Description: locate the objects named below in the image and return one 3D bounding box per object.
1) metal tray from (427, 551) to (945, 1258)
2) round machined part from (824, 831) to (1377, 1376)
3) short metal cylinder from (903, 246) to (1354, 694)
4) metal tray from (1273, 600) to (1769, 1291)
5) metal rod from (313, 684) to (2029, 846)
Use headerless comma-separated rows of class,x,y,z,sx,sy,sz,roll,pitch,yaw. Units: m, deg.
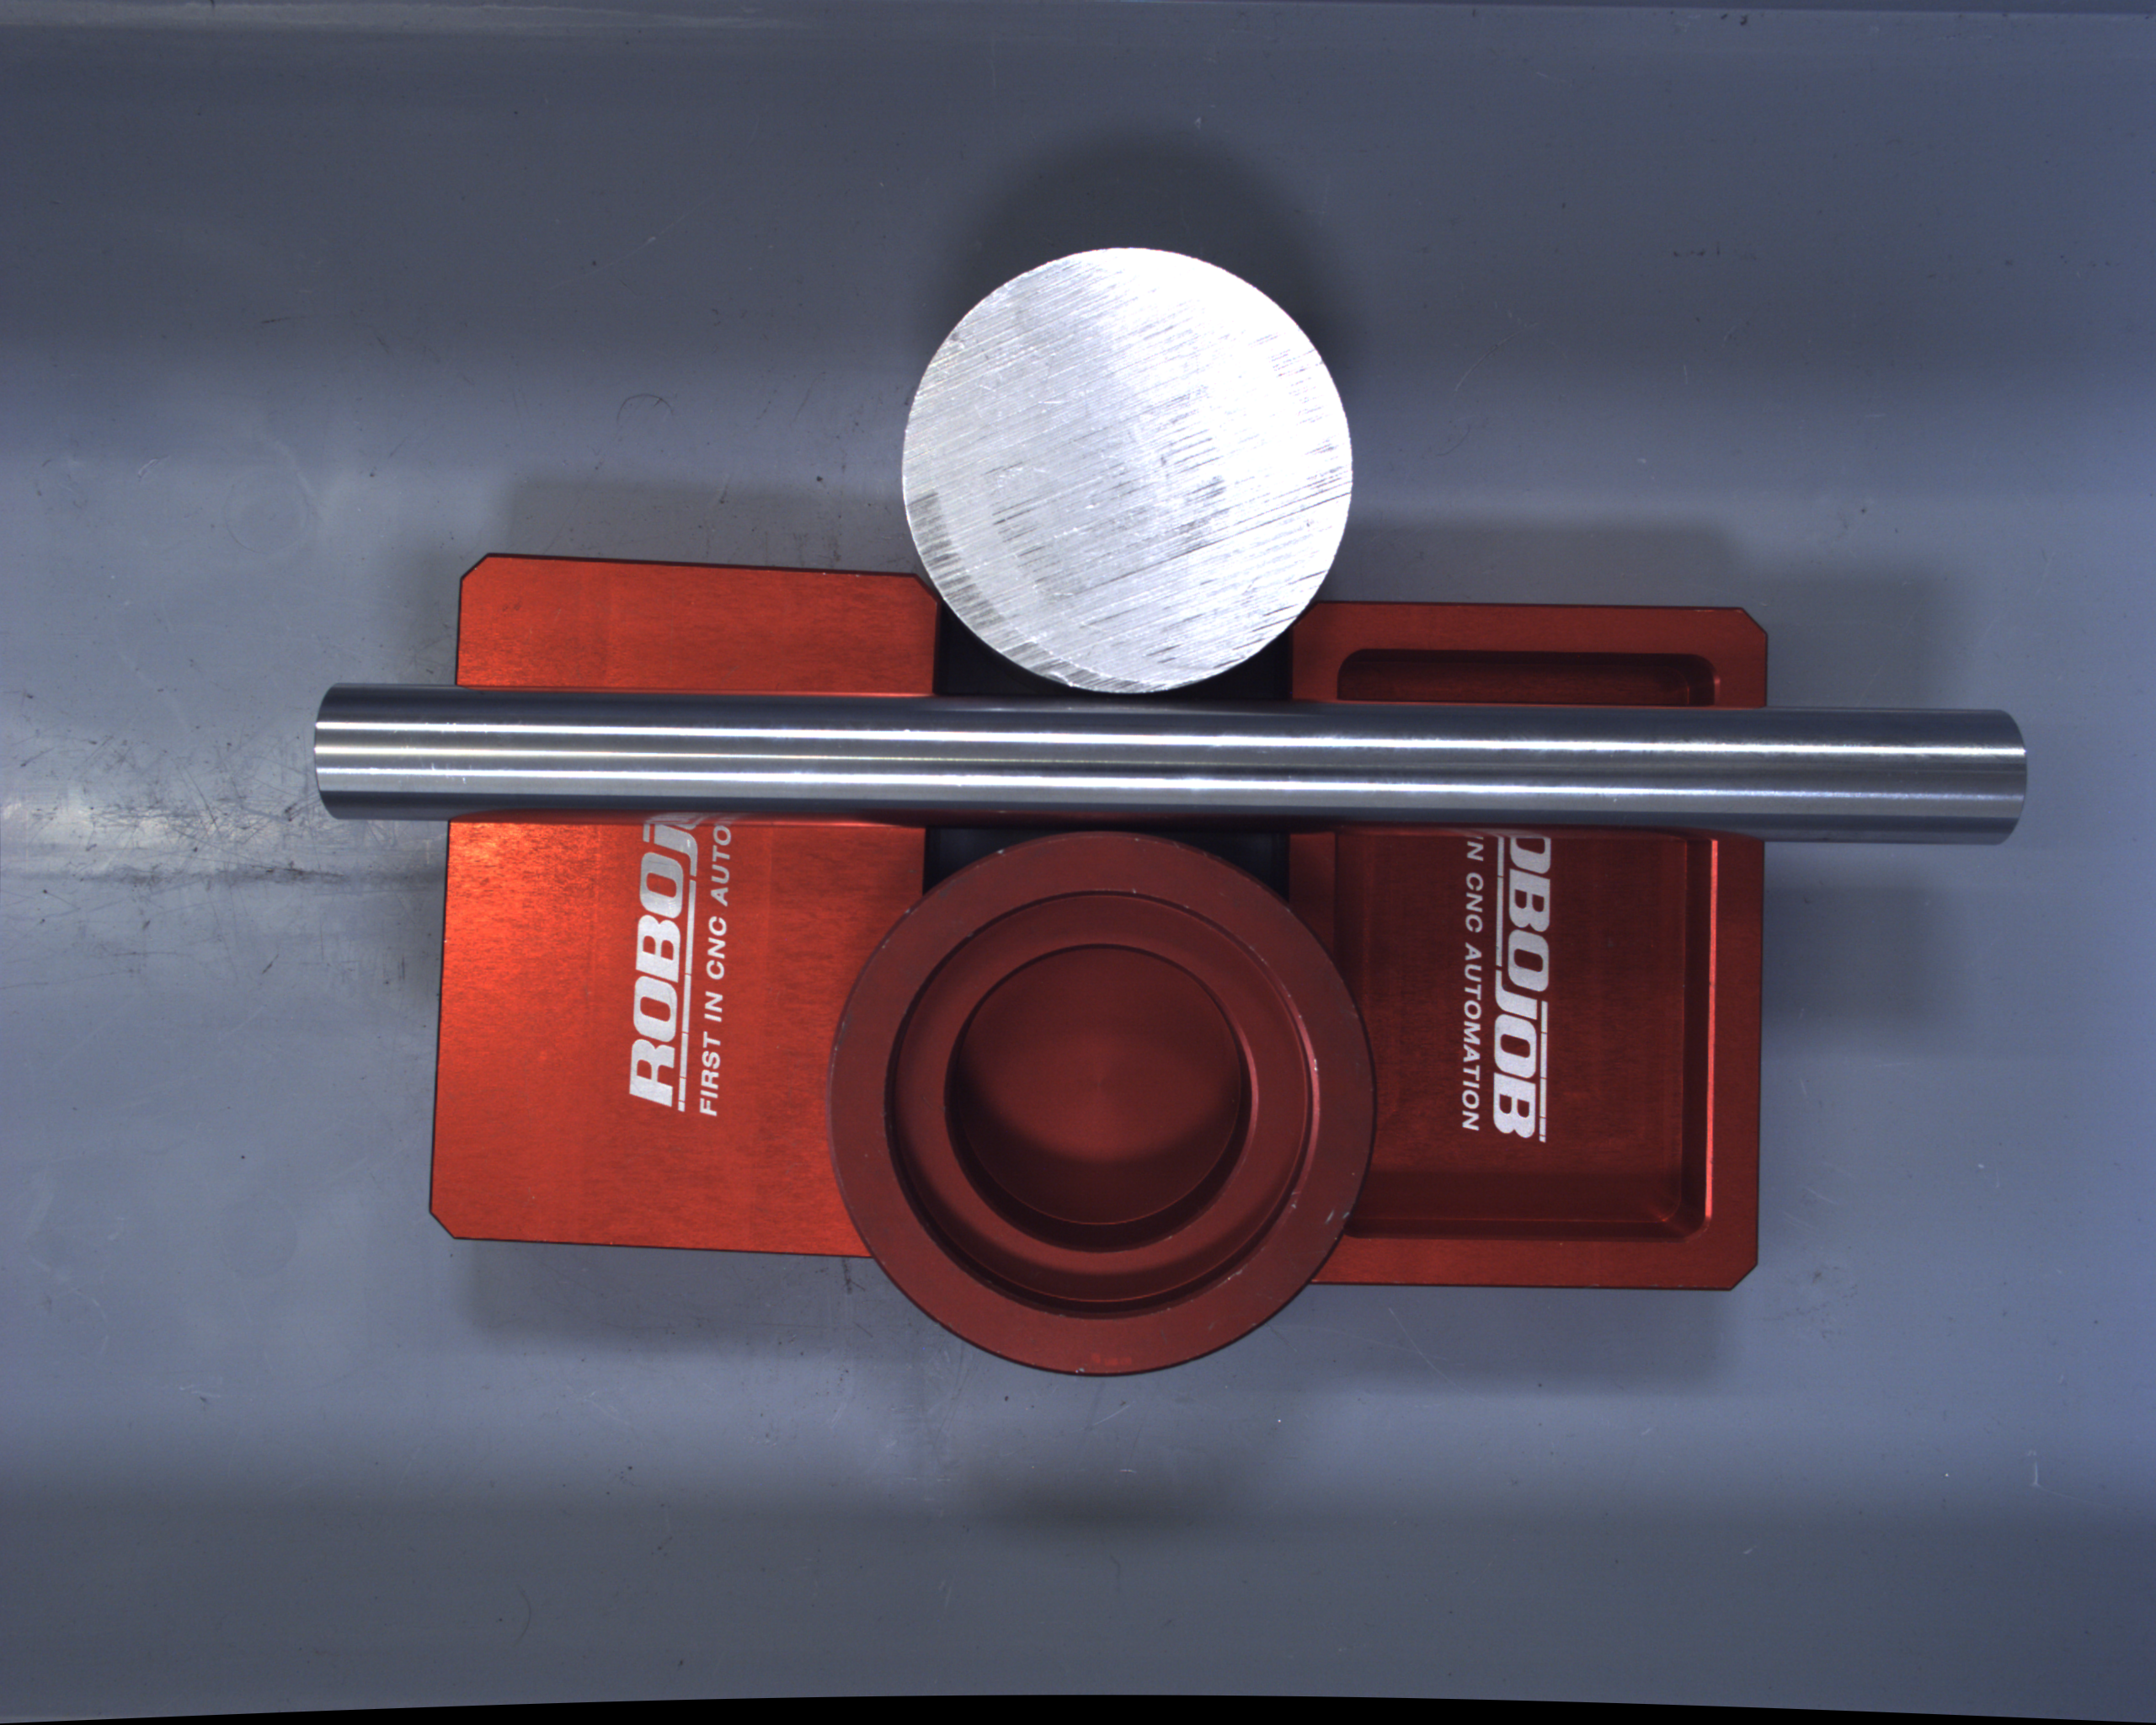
metal tray,-0.074,0.008,0.405,0.091,0.030,0.129,3,90,0
round machined part,0.004,0.043,0.392,0.099,0.042,0.097,0,90,0
short metal cylinder,0.009,-0.070,0.397,0.081,0.050,0.079,0,90,0
metal tray,0.084,0.016,0.407,0.091,0.030,0.129,1,90,0
metal rod,0.017,-0.018,0.379,0.302,0.025,0.025,1,90,-1
